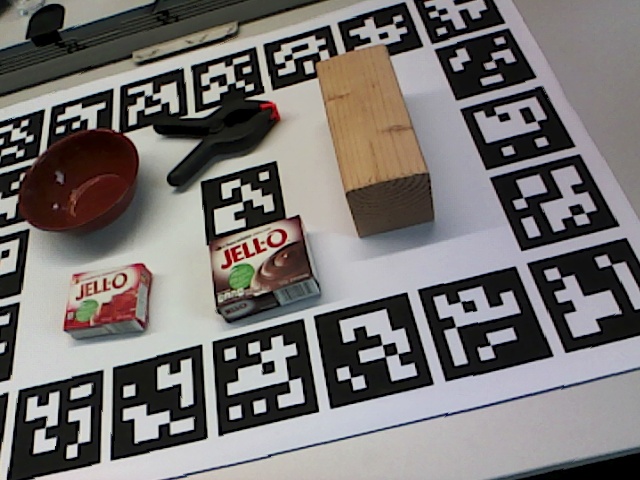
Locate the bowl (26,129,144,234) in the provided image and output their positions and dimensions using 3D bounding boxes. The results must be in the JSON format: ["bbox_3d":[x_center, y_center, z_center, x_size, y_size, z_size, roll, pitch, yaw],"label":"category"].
[{"bbox_3d":[-0.296,-0.066,0.811,0.162,0.055,0.162,-6,59,10],"label":"bowl"}]

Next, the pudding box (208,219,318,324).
[{"bbox_3d":[-0.065,0.035,0.687,0.114,0.038,0.090,-16,59,7],"label":"pudding box"}]

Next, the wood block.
[{"bbox_3d":[0.066,-0.112,0.714,0.090,0.090,0.207,-11,56,6],"label":"wood block"}]

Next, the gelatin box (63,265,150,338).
[{"bbox_3d":[-0.246,0.071,0.716,0.089,0.030,0.073,-7,58,10],"label":"gelatin box"}]

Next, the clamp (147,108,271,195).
[{"bbox_3d":[-0.144,-0.133,0.827,0.165,0.036,0.122,-22,55,-2],"label":"clamp"}]
